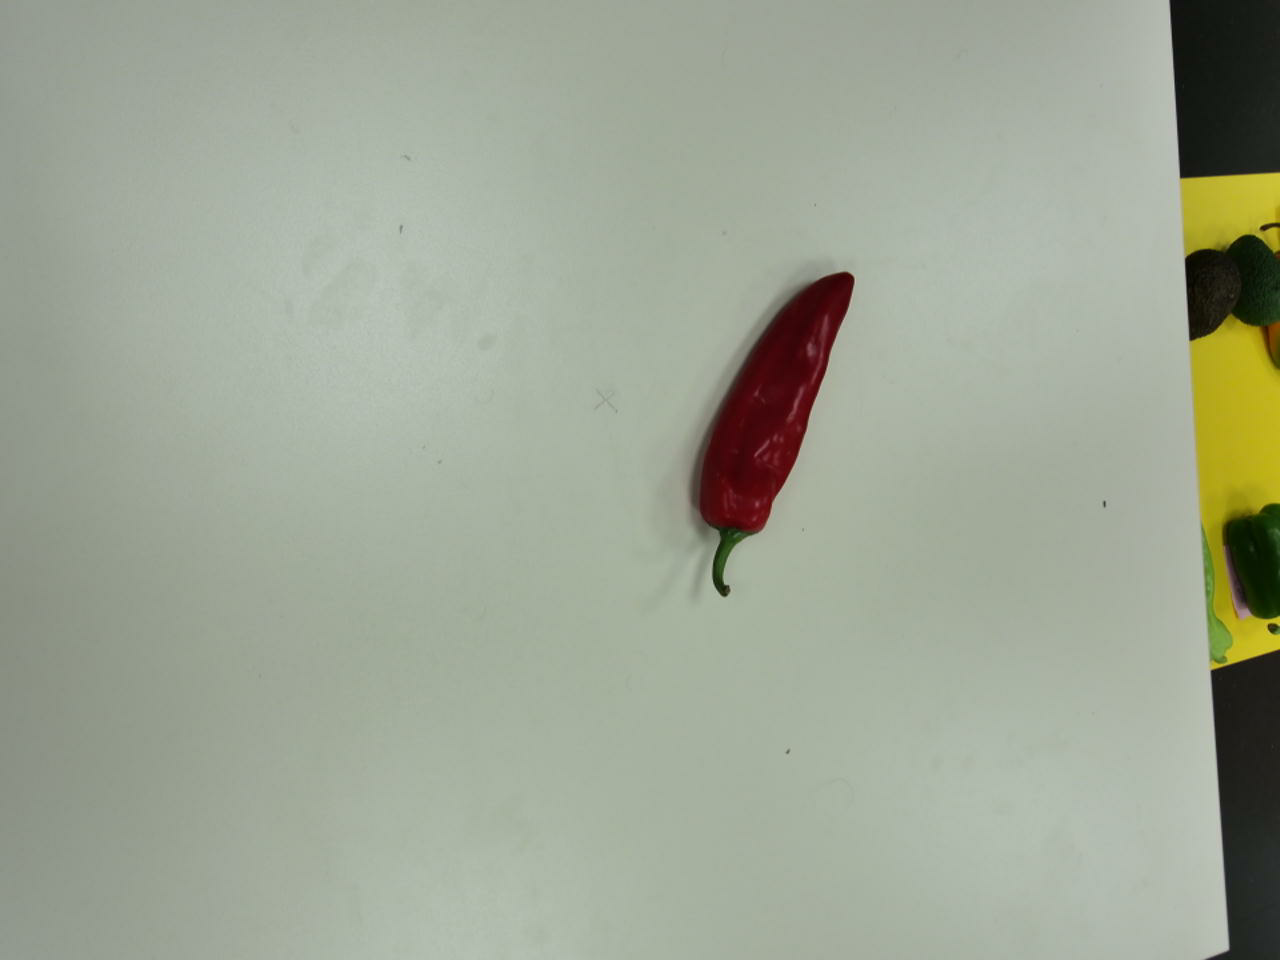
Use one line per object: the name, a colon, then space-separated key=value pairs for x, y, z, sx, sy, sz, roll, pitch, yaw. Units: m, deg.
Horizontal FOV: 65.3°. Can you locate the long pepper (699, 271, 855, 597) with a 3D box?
long pepper: x=0.075 y=-0.035 z=0.578 sx=0.050 sy=0.043 sz=0.211 roll=28 pitch=80 yaw=-20
